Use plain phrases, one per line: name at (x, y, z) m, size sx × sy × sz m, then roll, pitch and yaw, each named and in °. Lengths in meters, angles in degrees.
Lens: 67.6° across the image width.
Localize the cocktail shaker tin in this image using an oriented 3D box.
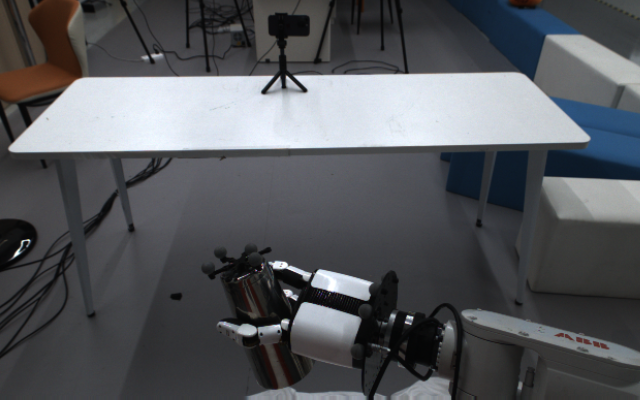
cocktail shaker tin at (-0.076, 0.164, 0.669) m, size 0.093 × 0.170 × 0.093 m, roll -17°, pitch 20°, yaw 6°
